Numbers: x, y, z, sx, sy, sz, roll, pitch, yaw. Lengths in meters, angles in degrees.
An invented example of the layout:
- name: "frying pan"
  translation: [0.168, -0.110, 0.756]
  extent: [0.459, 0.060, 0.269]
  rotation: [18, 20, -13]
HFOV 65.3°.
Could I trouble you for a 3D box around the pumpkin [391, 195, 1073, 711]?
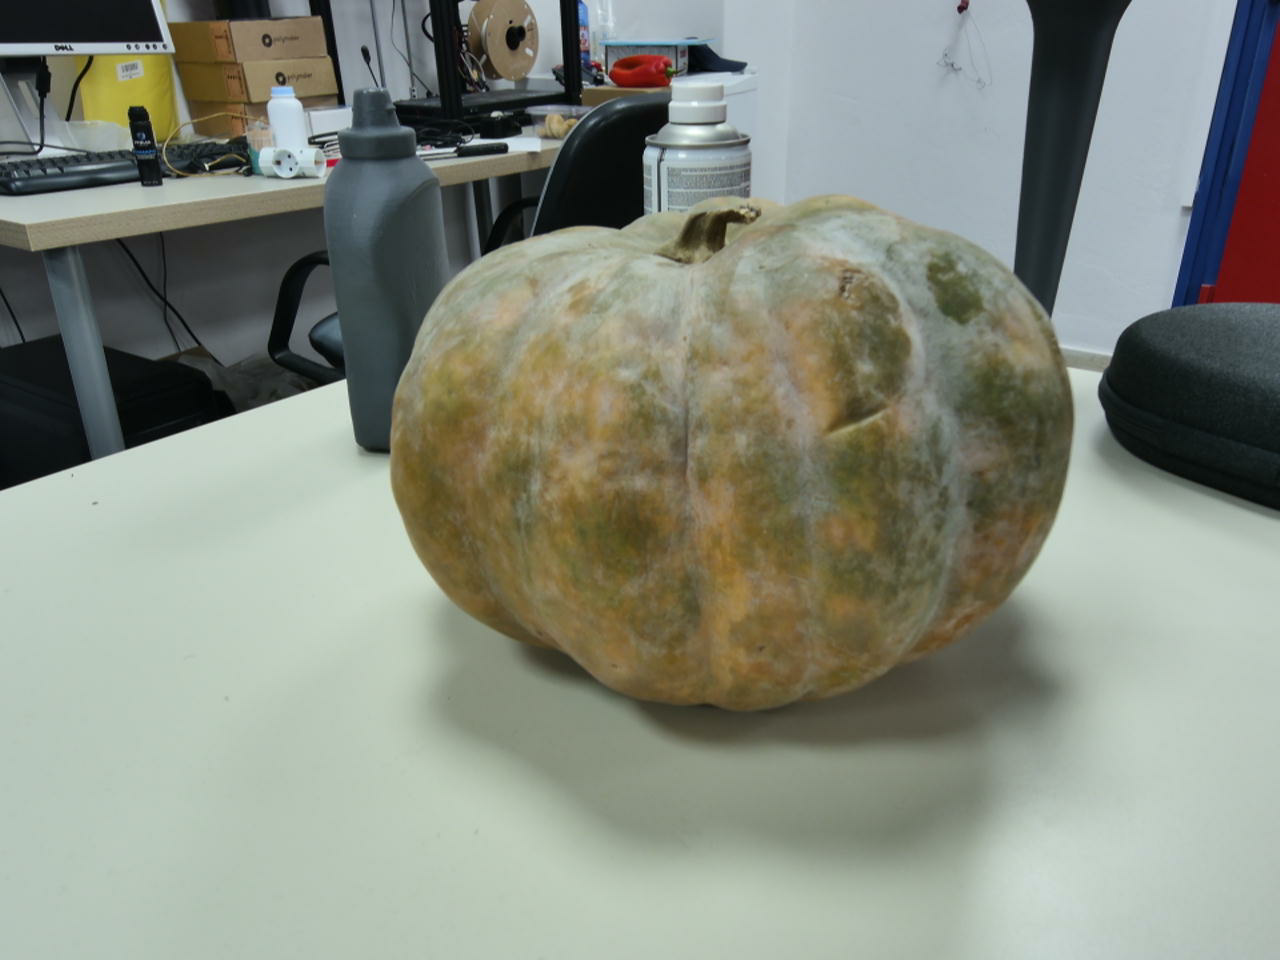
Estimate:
- name: "pumpkin"
  translation: [0.029, -0.022, 0.381]
  extent: [0.252, 0.169, 0.251]
  rotation: [0, 23, 0]
